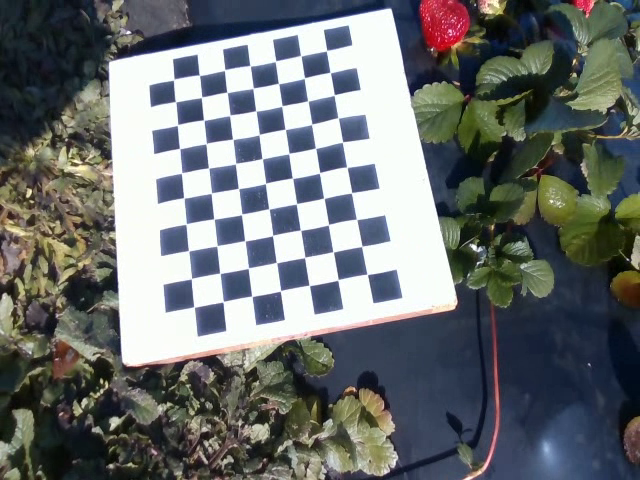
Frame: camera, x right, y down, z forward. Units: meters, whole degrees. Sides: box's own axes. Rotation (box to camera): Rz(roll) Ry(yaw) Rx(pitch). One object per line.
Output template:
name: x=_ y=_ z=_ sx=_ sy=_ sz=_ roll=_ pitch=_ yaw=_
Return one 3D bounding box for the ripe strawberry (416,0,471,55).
ripe strawberry: x=0.109 y=-0.205 z=0.530 sx=0.058 sy=0.066 sz=0.061 roll=25 pitch=-13 yaw=41
